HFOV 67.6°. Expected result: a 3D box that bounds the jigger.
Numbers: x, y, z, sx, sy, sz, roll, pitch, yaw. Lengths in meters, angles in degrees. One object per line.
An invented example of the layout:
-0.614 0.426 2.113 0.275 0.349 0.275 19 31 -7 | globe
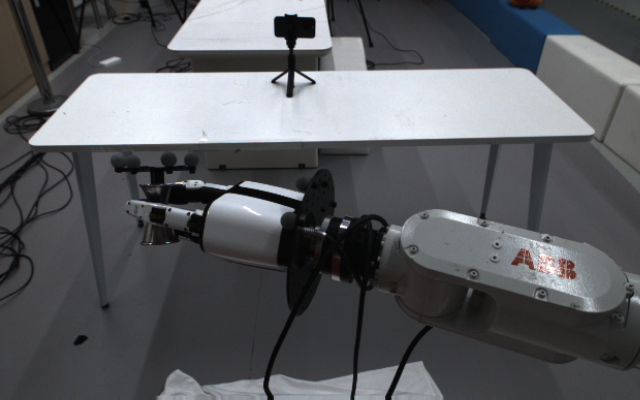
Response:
-0.186 0.016 0.559 0.043 0.071 0.043 -2 4 0 | jigger
